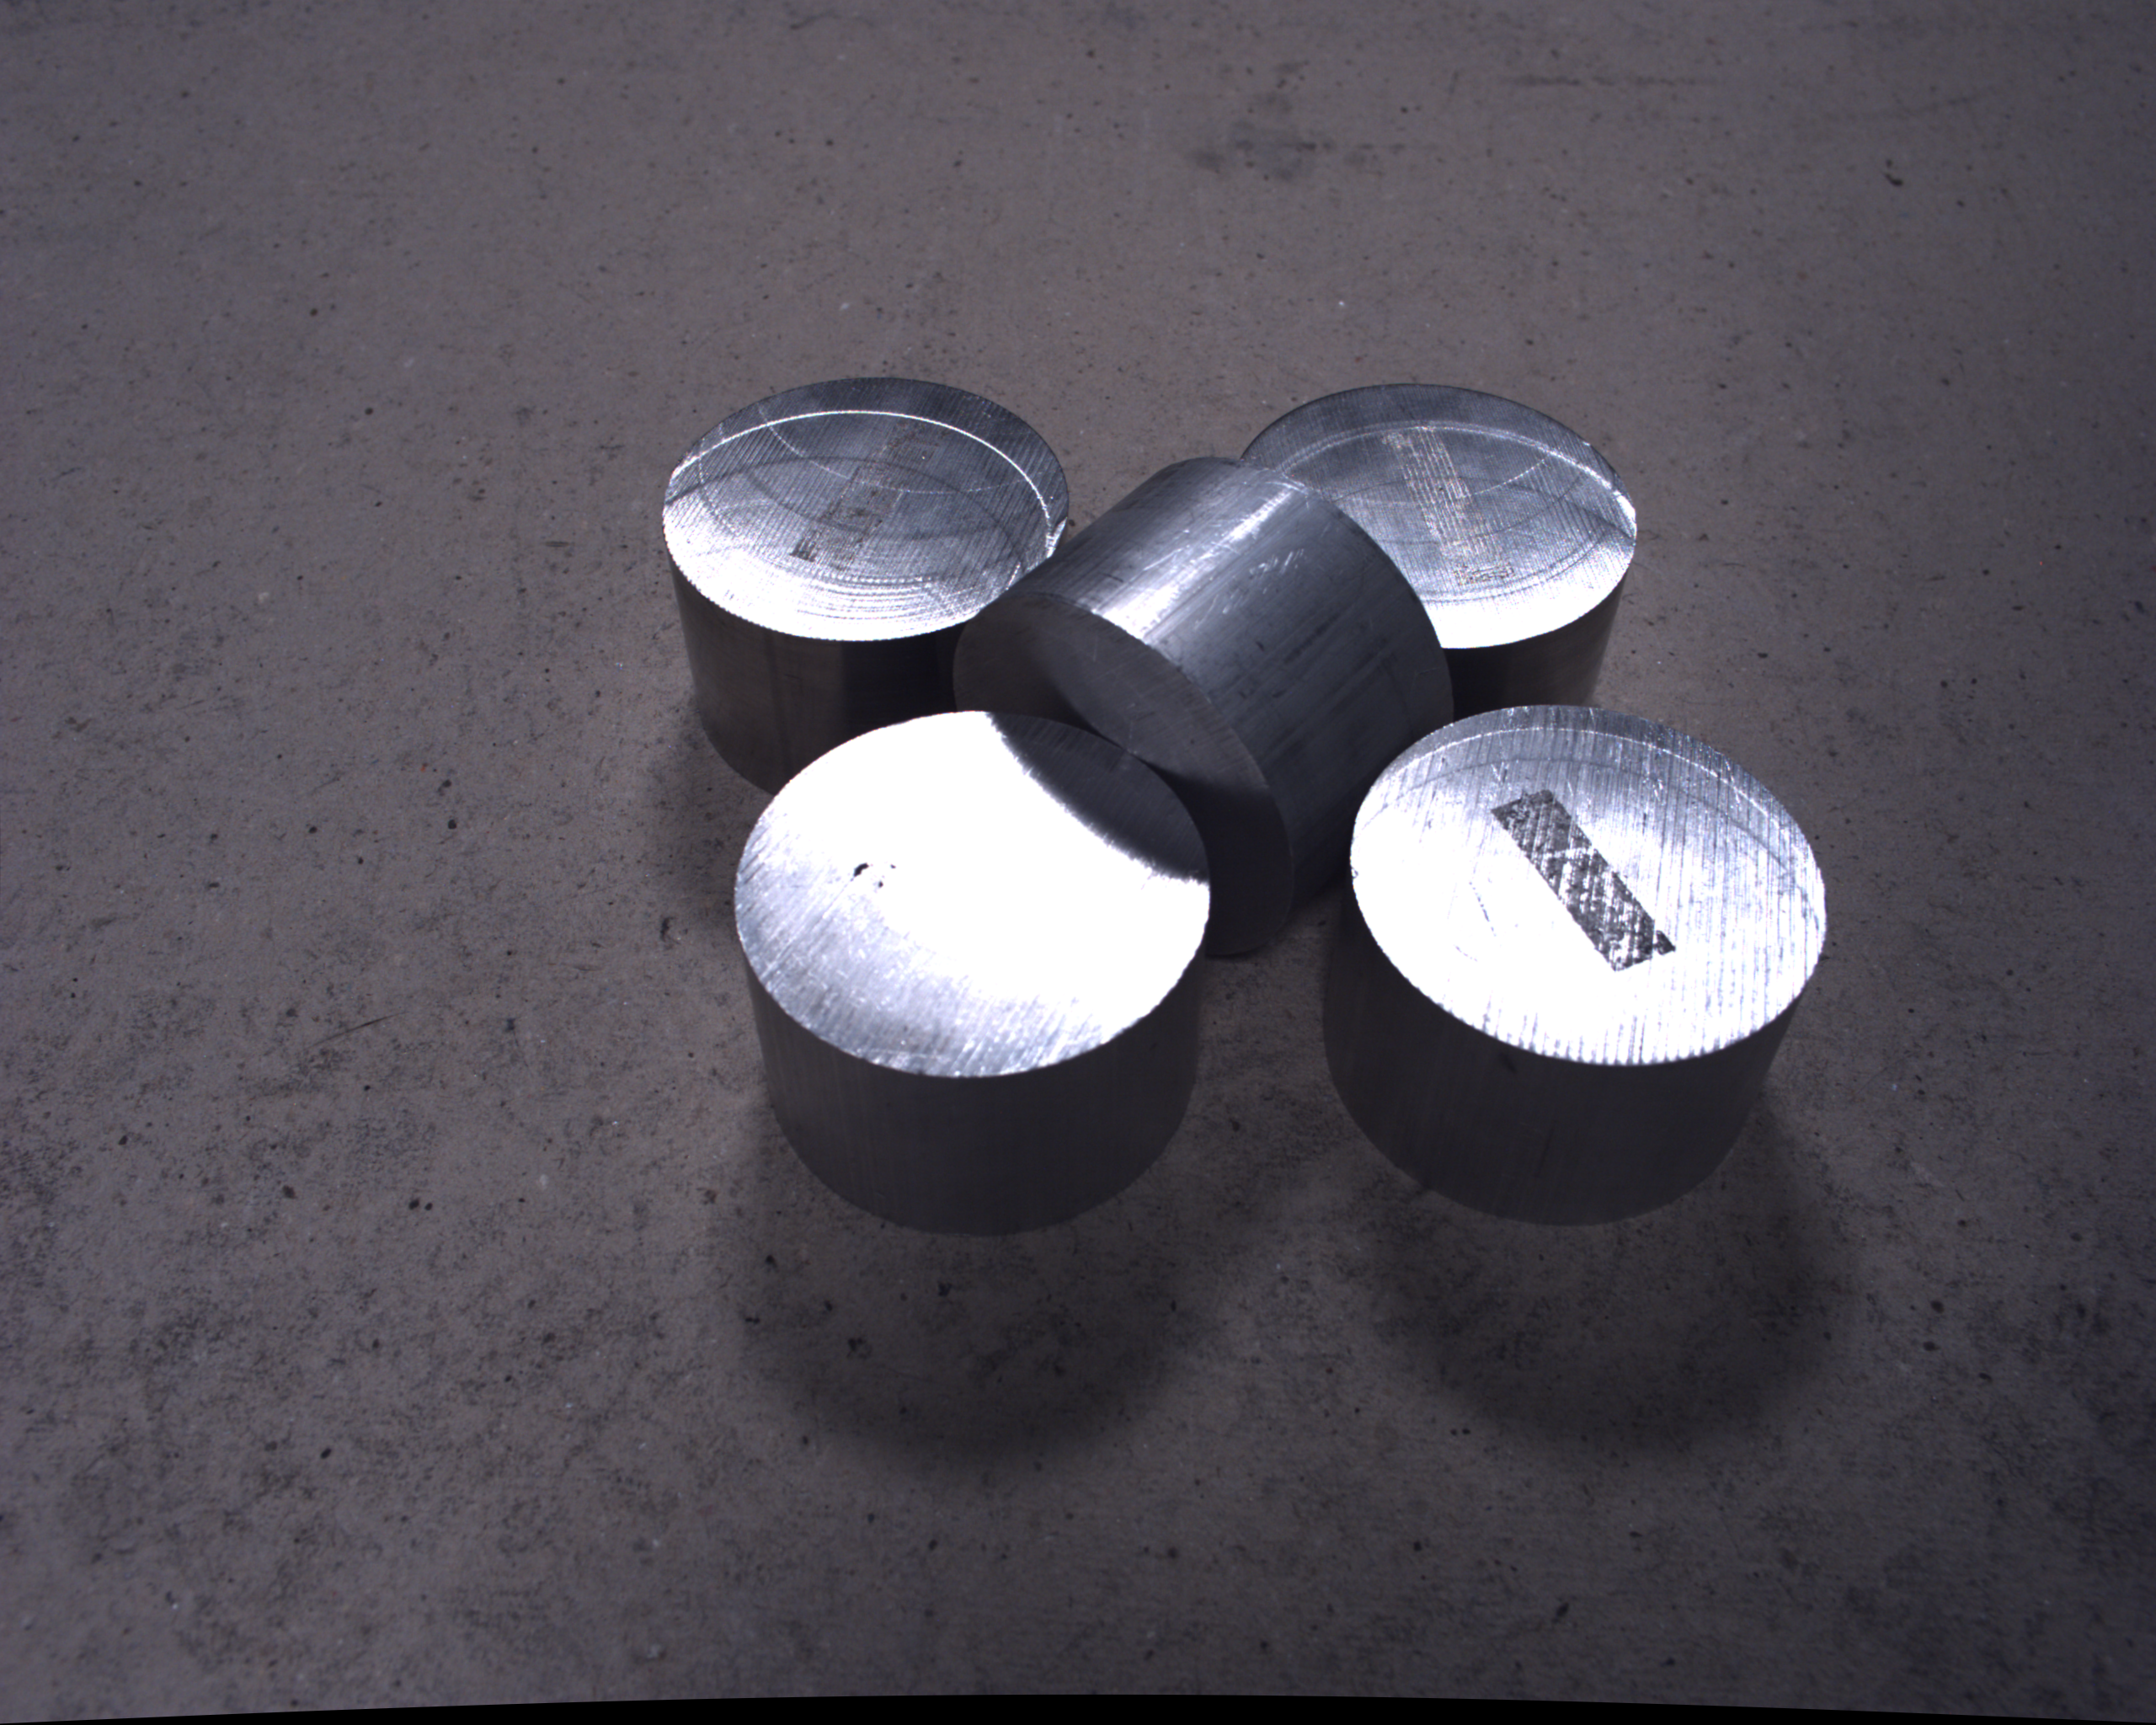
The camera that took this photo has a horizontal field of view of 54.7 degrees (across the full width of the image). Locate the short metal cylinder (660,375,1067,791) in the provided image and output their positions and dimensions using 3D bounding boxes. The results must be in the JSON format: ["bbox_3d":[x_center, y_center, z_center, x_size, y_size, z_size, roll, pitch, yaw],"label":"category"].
[{"bbox_3d":[-0.043,-0.057,0.434,0.081,0.050,0.080,0,50,0],"label":"short metal cylinder"}]

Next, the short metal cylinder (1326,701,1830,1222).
[{"bbox_3d":[0.087,0.017,0.374,0.081,0.050,0.080,0,50,0],"label":"short metal cylinder"}]

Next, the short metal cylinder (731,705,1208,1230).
[{"bbox_3d":[-0.018,0.018,0.372,0.081,0.050,0.080,0,50,0],"label":"short metal cylinder"}]

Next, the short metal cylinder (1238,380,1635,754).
[{"bbox_3d":[0.070,-0.055,0.434,0.081,0.050,0.080,0,50,0],"label":"short metal cylinder"}]

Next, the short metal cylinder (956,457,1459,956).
[{"bbox_3d":[0.024,-0.029,0.394,0.080,0.080,0.050,32,57,24],"label":"short metal cylinder"}]
